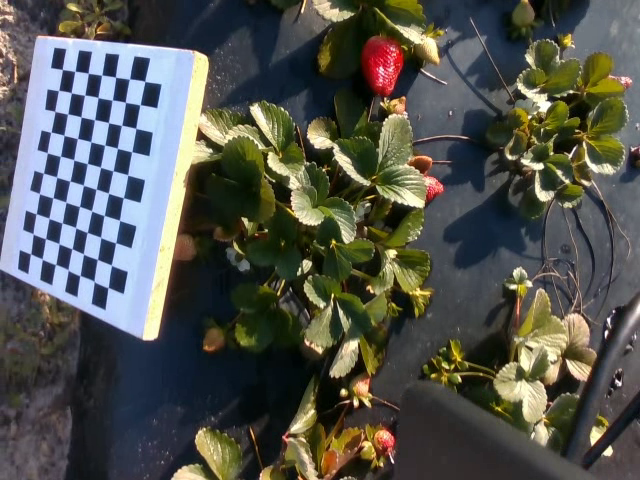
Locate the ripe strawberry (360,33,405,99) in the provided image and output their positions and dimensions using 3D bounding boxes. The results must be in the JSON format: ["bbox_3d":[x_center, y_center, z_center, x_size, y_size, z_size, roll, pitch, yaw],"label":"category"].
[{"bbox_3d":[0.066,-0.179,0.631,0.056,0.072,0.055,-11,-15,33],"label":"ripe strawberry"}]
